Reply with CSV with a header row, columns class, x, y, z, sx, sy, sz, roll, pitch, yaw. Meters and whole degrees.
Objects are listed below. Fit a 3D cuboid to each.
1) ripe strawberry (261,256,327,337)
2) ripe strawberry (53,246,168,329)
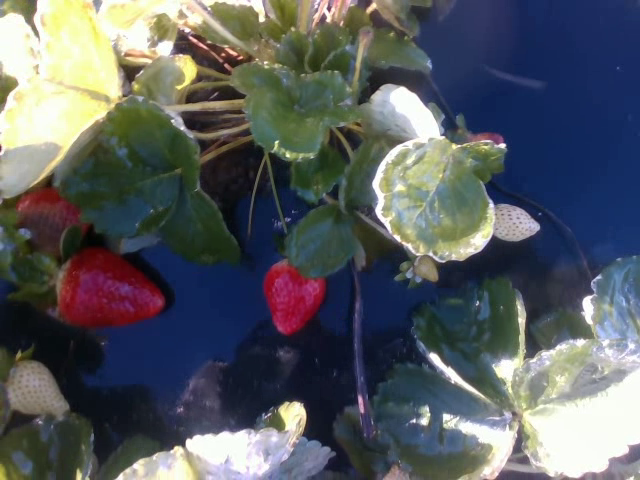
class,x,y,z,sx,sy,sz,roll,pitch,yaw
ripe strawberry,-0.013,0.032,0.325,0.039,0.047,0.040,10,0,-14
ripe strawberry,-0.107,0.031,0.320,0.056,0.044,0.040,21,9,-16
